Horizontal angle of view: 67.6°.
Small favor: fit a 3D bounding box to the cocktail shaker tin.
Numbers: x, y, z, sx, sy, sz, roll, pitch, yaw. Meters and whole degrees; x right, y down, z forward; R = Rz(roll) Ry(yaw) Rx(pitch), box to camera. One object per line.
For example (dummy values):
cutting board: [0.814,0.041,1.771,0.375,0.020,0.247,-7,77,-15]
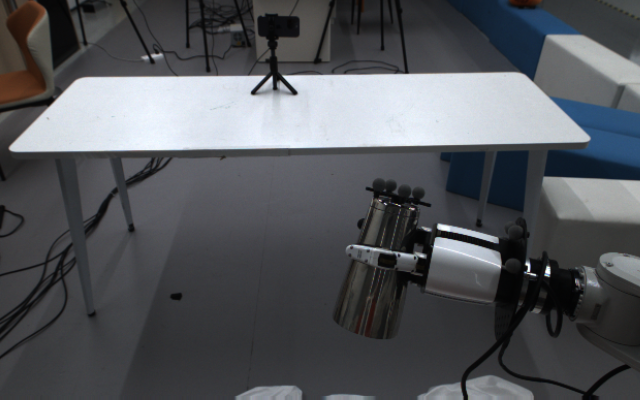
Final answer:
cocktail shaker tin: [0.083,0.085,0.647,0.093,0.170,0.093,13,6,-2]
